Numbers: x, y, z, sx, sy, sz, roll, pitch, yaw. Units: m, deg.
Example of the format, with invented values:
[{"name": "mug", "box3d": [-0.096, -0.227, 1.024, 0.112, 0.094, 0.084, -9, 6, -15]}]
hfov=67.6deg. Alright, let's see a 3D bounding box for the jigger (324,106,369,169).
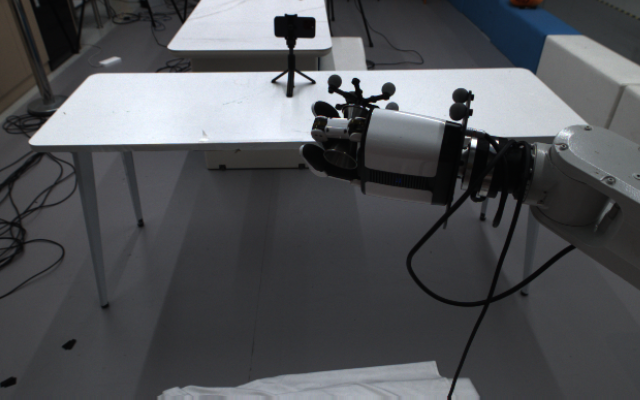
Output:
[{"name": "jigger", "box3d": [0.038, -0.077, 0.591, 0.043, 0.043, 0.071, 13, 70, 16]}]
